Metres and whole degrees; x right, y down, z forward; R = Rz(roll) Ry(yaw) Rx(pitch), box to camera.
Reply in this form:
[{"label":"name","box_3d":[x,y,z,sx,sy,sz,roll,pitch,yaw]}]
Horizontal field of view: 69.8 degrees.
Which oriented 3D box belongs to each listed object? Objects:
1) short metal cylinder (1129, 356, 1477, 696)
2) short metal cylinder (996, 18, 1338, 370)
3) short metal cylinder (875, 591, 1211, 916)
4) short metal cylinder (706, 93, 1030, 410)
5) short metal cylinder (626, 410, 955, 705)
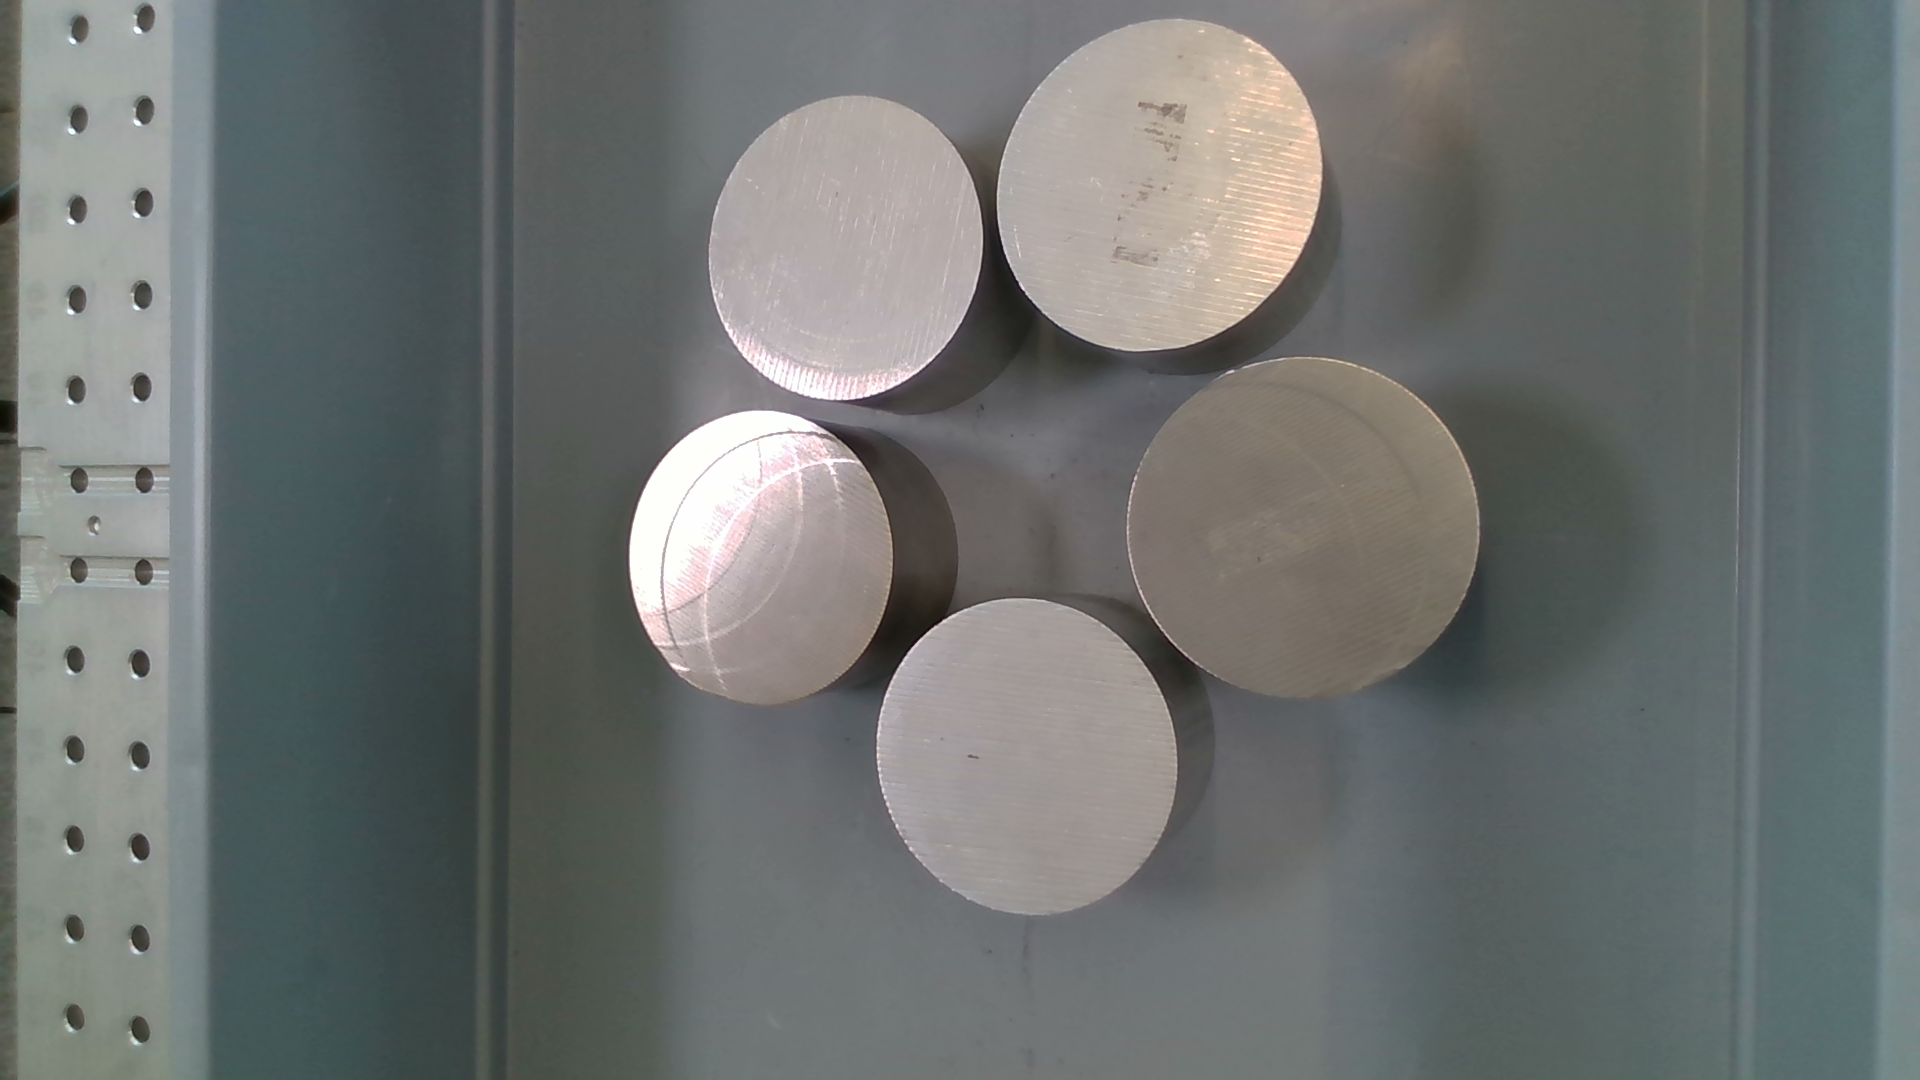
[{"label":"short metal cylinder","box_3d":[0.087,-0.003,0.347,0.080,0.050,0.080,0,90,20]},{"label":"short metal cylinder","box_3d":[0.055,-0.087,0.358,0.080,0.050,0.080,0,90,20]},{"label":"short metal cylinder","box_3d":[0.024,0.055,0.371,0.080,0.050,0.080,0,90,20]},{"label":"short metal cylinder","box_3d":[-0.023,-0.078,0.387,0.080,0.050,0.080,0,90,20]},{"label":"short metal cylinder","box_3d":[-0.048,0.005,0.396,0.080,0.050,0.080,0,90,20]}]
